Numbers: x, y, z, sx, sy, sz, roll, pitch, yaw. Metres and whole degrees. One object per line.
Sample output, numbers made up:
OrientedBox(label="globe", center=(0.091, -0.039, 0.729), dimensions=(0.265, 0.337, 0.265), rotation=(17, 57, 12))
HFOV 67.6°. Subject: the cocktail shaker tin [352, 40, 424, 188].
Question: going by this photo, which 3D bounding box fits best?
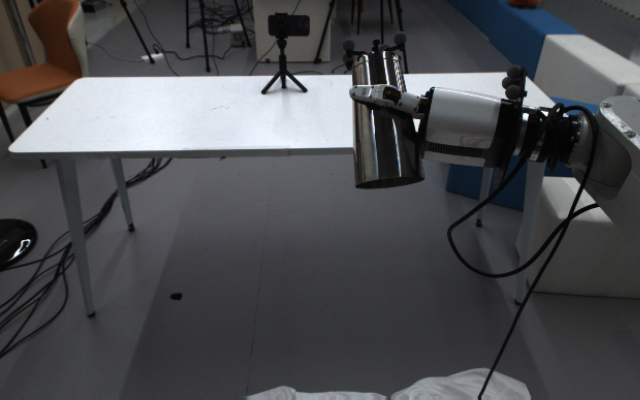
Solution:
OrientedBox(label="cocktail shaker tin", center=(0.085, -0.106, 0.651), dimensions=(0.093, 0.170, 0.093), rotation=(-6, -7, -1))
